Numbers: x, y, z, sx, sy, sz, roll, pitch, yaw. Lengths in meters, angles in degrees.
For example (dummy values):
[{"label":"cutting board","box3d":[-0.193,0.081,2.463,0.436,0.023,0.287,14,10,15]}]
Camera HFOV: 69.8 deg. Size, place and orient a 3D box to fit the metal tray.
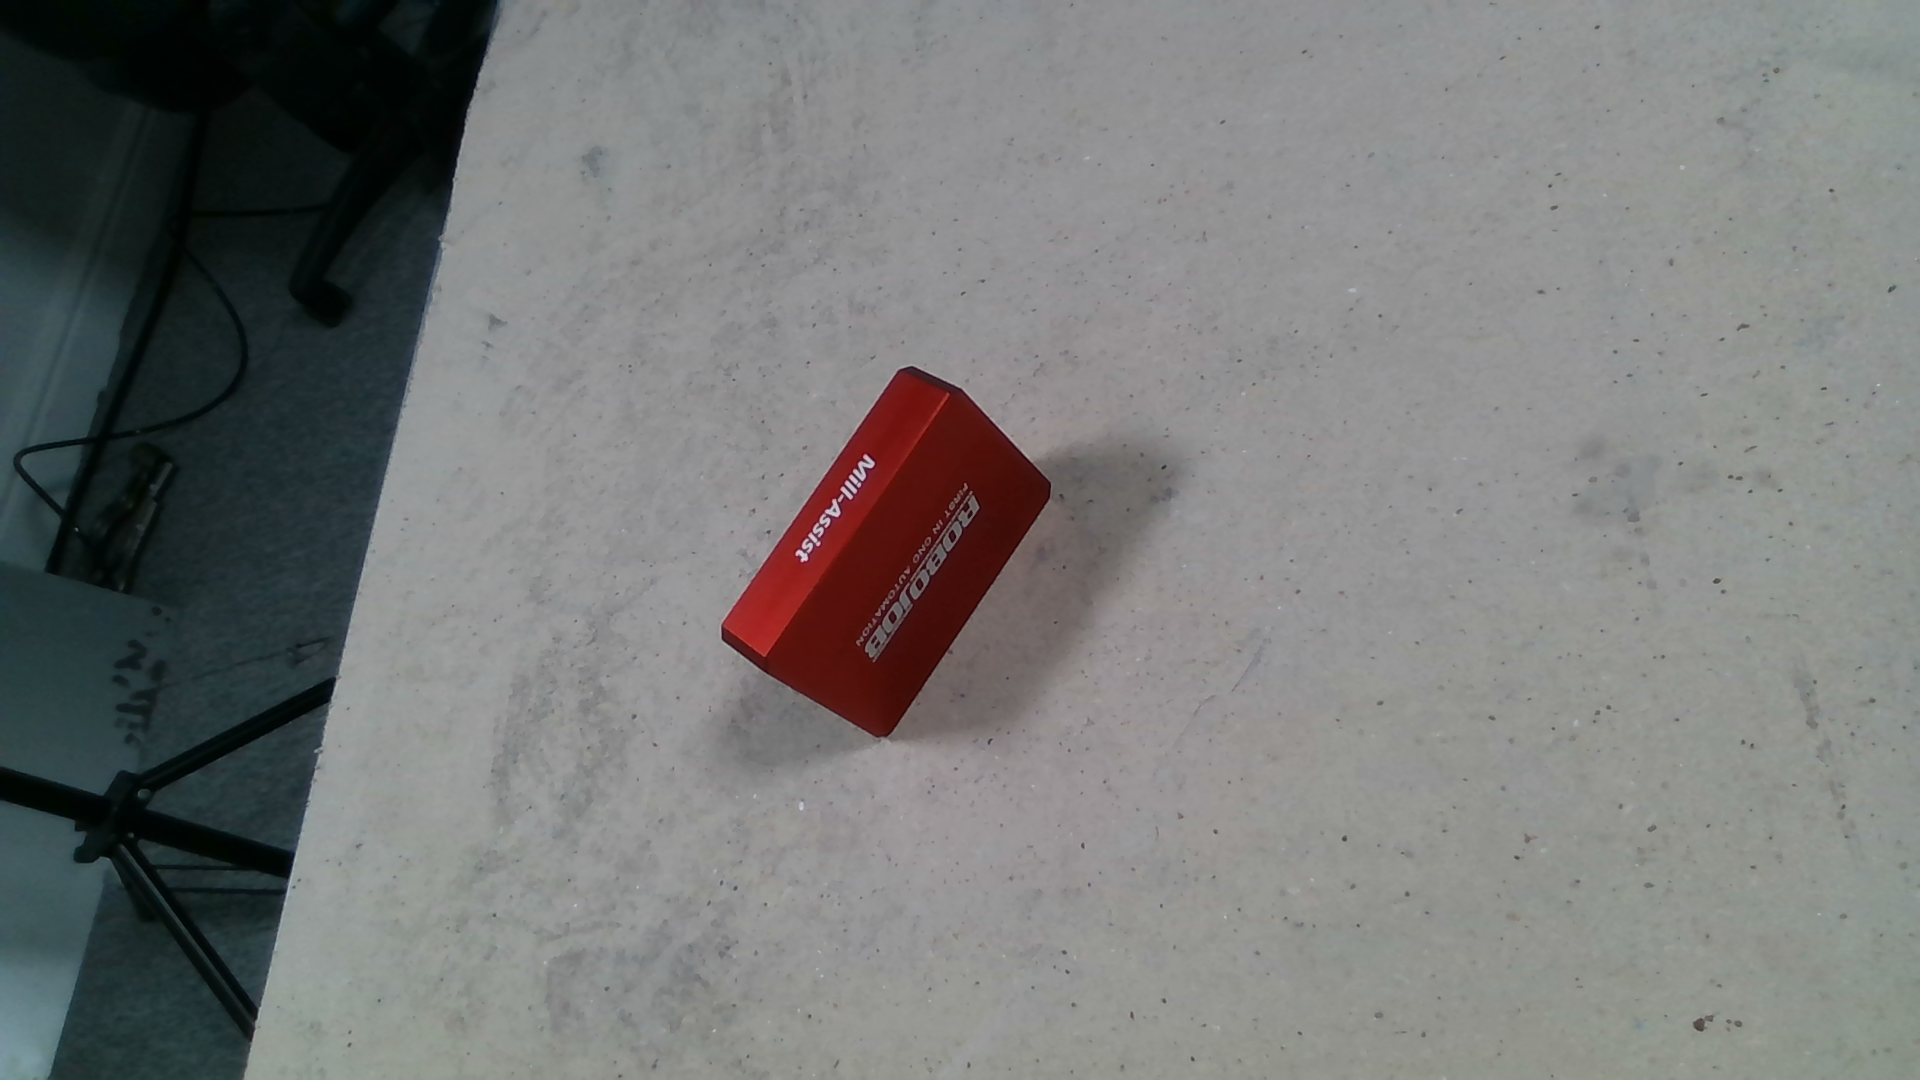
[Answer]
[{"label":"metal tray","box3d":[-0.027,0.007,0.556,0.030,0.090,0.130,30,83,39]}]
